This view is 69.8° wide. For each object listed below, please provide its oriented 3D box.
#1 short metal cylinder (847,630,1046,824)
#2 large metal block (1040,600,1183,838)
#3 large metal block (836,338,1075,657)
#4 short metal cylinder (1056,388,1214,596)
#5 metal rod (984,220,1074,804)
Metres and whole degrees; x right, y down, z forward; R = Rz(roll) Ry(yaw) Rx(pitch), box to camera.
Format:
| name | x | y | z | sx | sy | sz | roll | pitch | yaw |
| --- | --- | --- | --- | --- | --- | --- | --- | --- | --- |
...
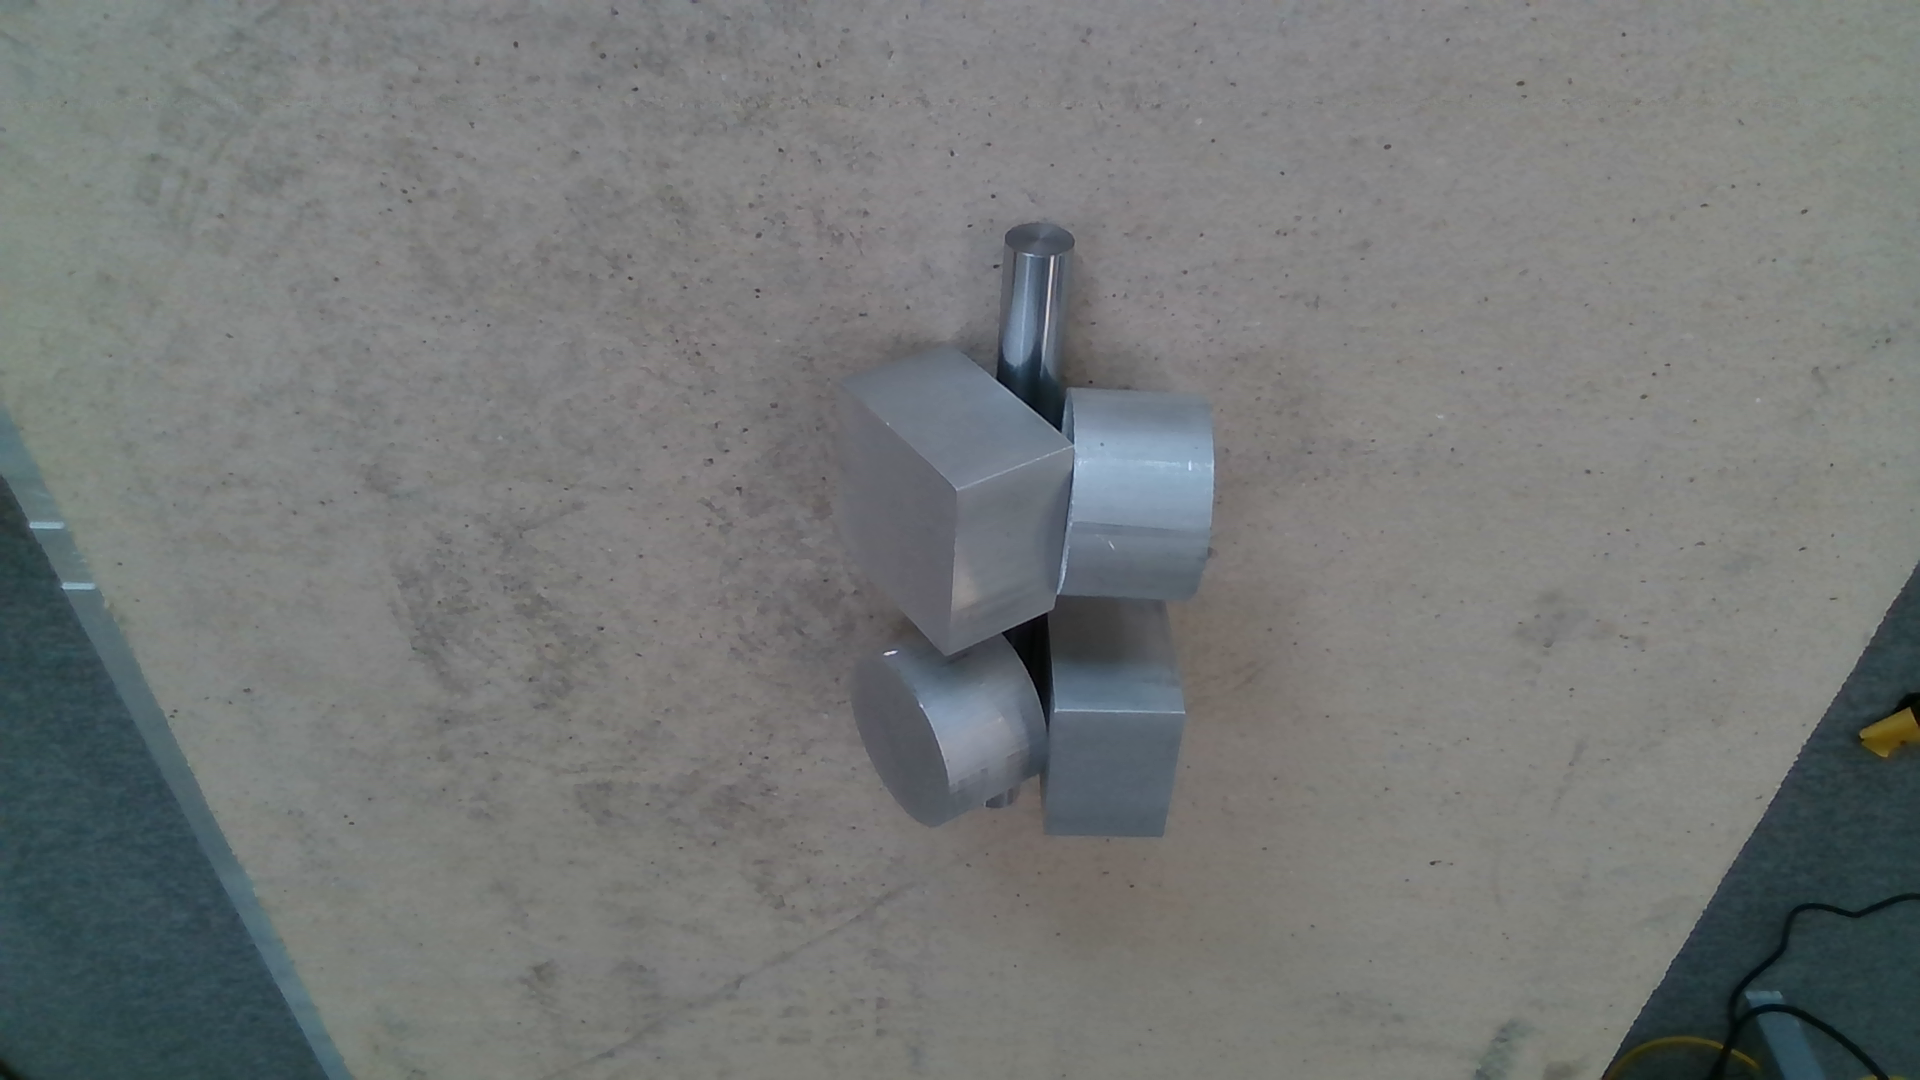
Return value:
| name | x | y | z | sx | sy | sz | roll | pitch | yaw |
| --- | --- | --- | --- | --- | --- | --- | --- | --- | --- |
| short metal cylinder | -0.007 | 0.076 | 0.600 | 0.050 | 0.080 | 0.080 | -23 | 136 | -27 |
| large metal block | 0.063 | 0.073 | 0.605 | 0.050 | 0.080 | 0.080 | 1 | 130 | -1 |
| large metal block | -0.005 | -0.018 | 0.521 | 0.050 | 0.080 | 0.080 | -22 | 137 | -27 |
| short metal cylinder | 0.064 | -0.018 | 0.528 | 0.050 | 0.080 | 0.080 | 3 | 130 | -2 |
| metal rod | 0.022 | 0.007 | 0.588 | 0.025 | 0.025 | 0.301 | 2 | 130 | -1 |
